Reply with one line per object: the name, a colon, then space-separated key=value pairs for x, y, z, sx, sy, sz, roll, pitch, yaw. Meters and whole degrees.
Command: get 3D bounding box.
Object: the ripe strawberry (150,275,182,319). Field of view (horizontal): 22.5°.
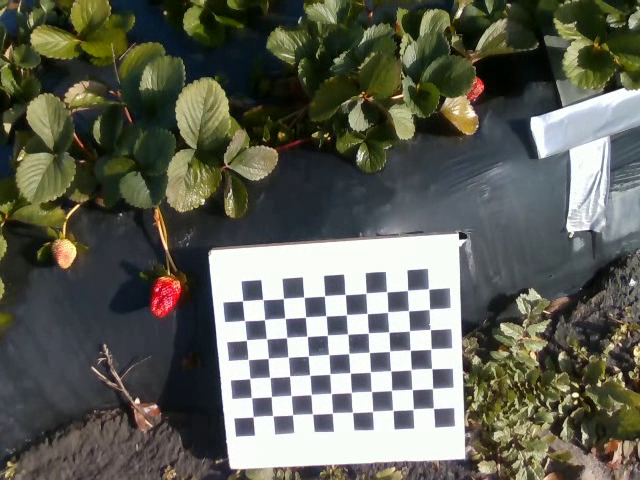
ripe strawberry: x=-0.066 y=0.022 z=0.675 sx=0.016 sy=0.022 sz=0.015 roll=4 pitch=-39 yaw=7
